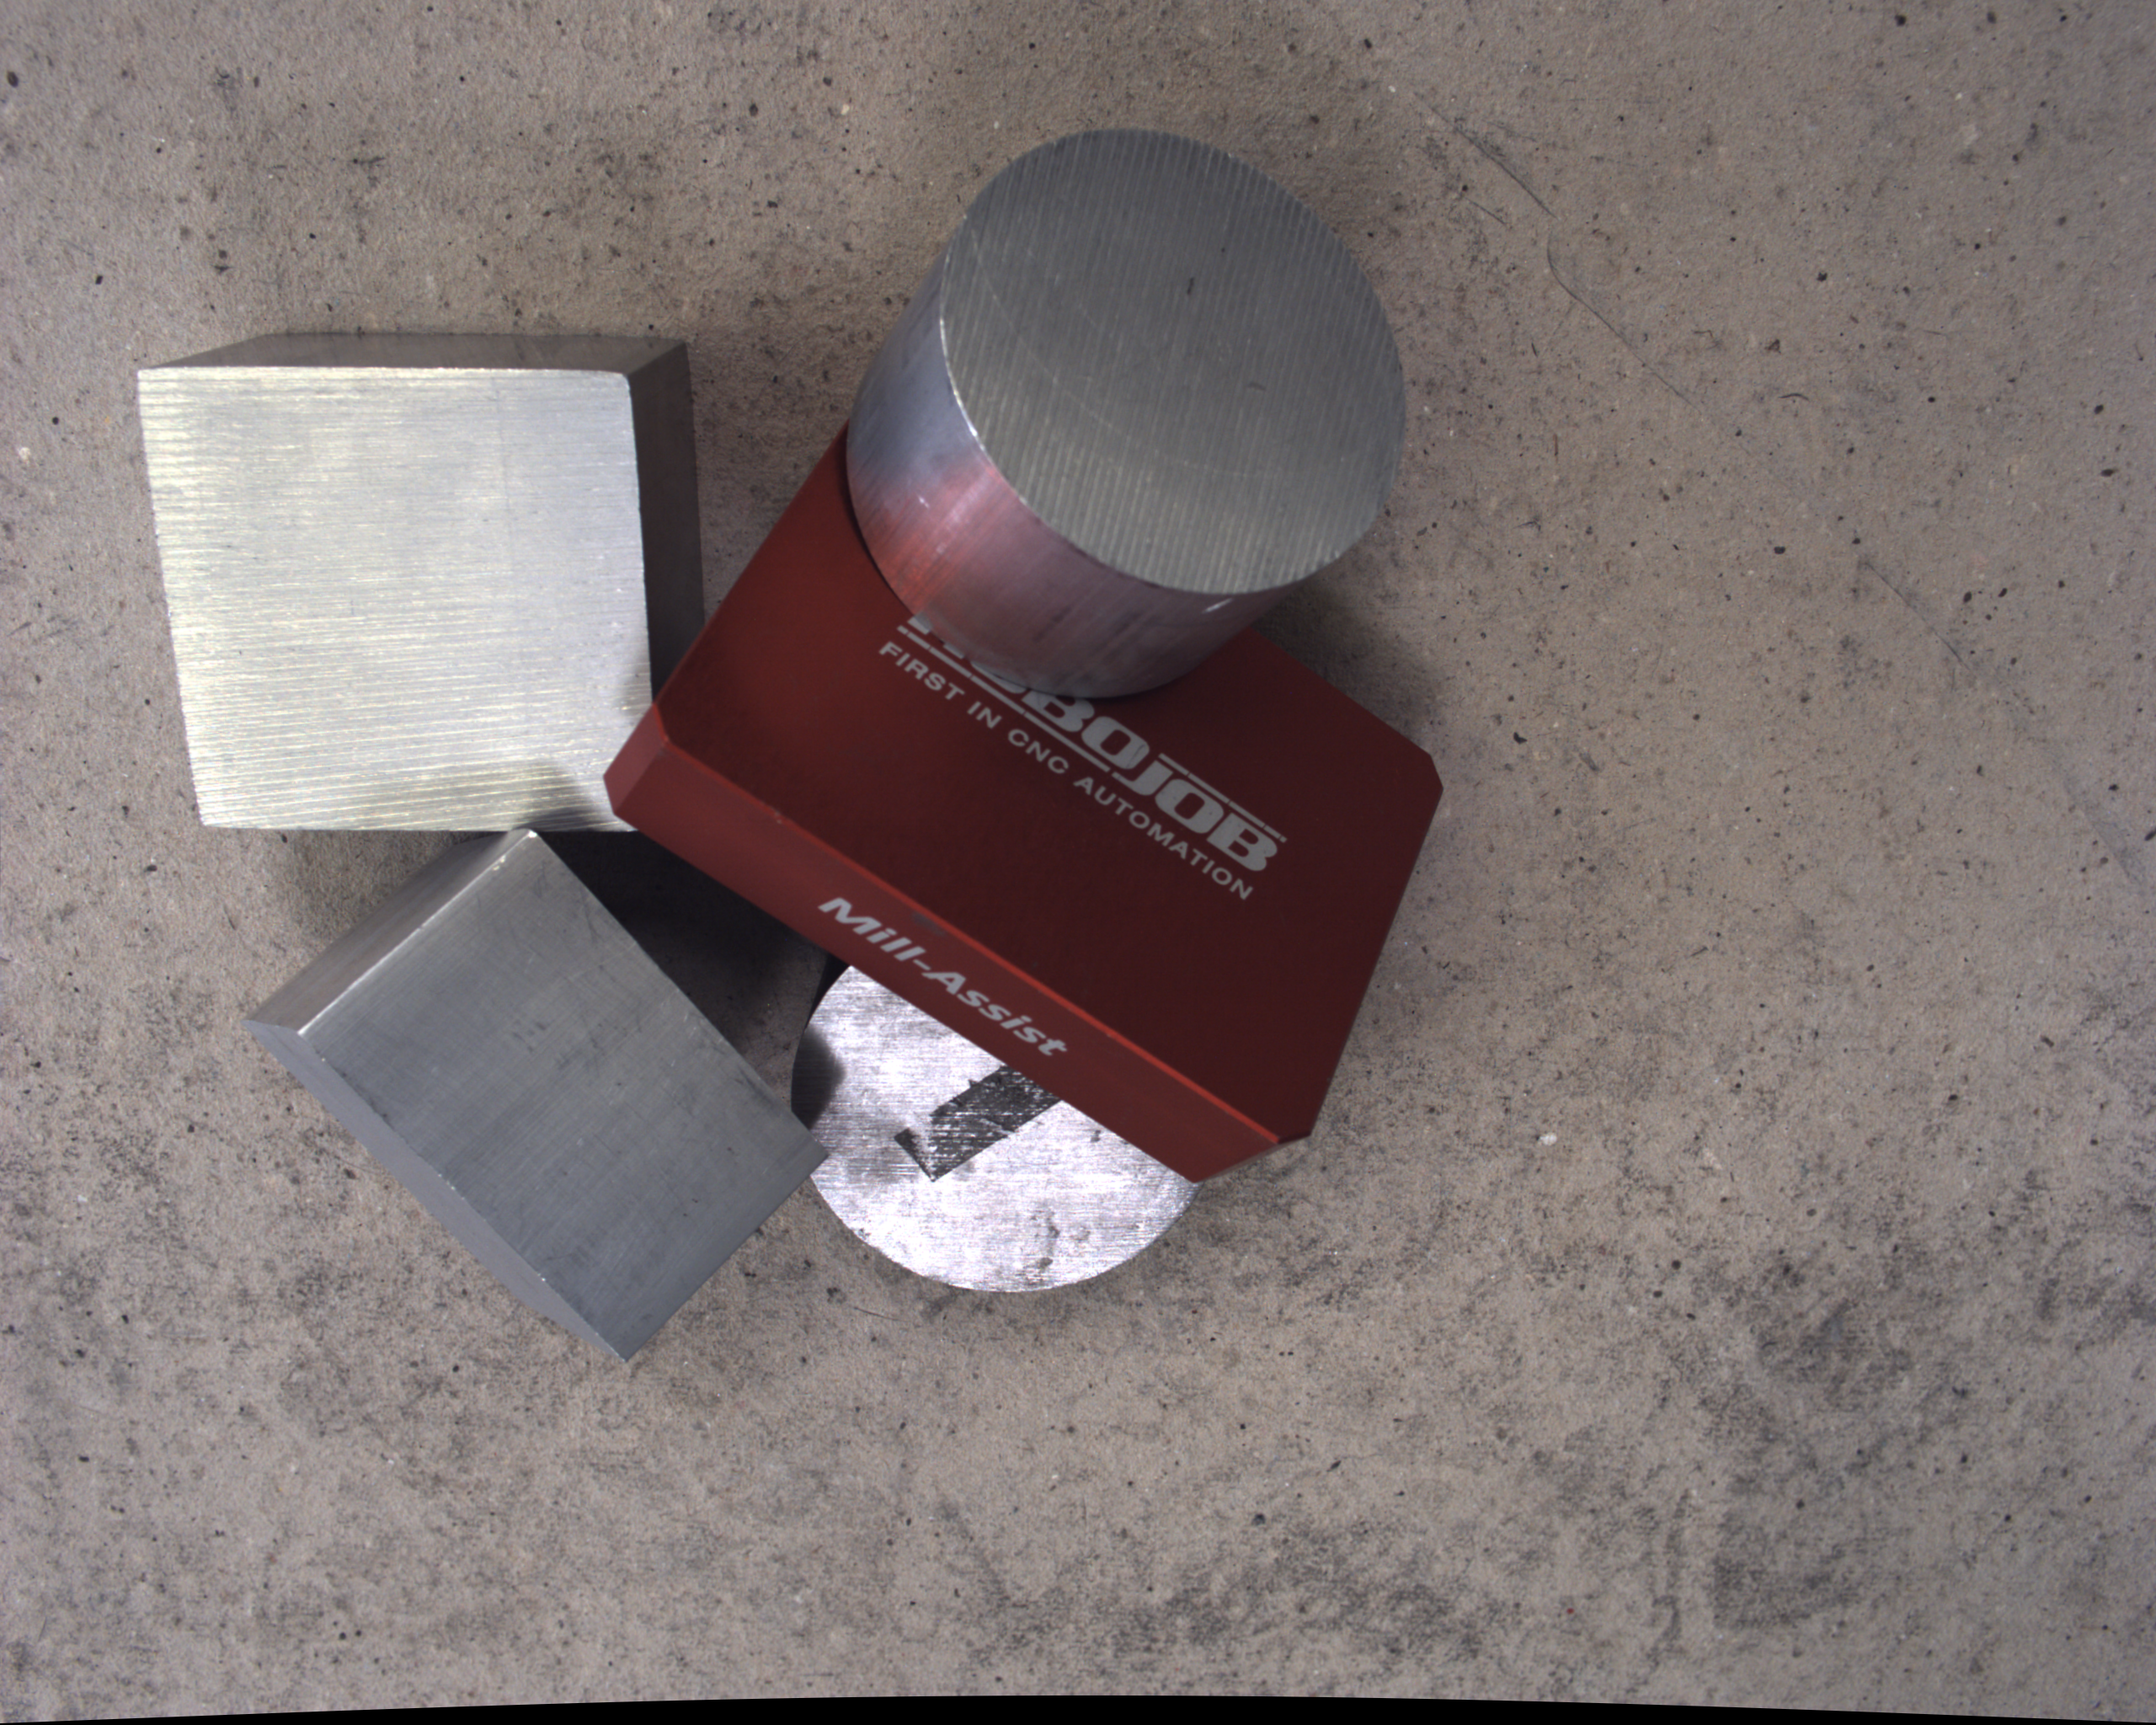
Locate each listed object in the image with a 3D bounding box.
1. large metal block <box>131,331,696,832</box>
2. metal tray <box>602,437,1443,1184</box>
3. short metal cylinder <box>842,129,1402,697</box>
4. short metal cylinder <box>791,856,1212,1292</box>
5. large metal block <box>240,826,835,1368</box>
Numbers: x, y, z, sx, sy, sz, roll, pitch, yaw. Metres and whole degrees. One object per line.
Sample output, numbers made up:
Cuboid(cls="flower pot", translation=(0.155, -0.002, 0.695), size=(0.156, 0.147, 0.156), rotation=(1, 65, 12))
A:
Cuboid(cls="large metal block", translation=(-0.114, -0.052, 0.375), size=(0.081, 0.050, 0.079), rotation=(1, 110, -1))
Cuboid(cls="metal tray", translation=(-0.005, -0.014, 0.372), size=(0.130, 0.090, 0.030), rotation=(34, 146, -12))
Cuboid(cls="short metal cylinder", translation=(0.006, -0.073, 0.350), size=(0.081, 0.050, 0.080), rotation=(6, 74, -22))
Cuboid(cls="short metal cylinder", translation=(-0.013, 0.037, 0.412), size=(0.081, 0.050, 0.079), rotation=(0, 110, 0))
Cuboid(cls="large metal block", translation=(-0.103, 0.042, 0.389), size=(0.050, 0.080, 0.080), rotation=(-46, 108, -22))
